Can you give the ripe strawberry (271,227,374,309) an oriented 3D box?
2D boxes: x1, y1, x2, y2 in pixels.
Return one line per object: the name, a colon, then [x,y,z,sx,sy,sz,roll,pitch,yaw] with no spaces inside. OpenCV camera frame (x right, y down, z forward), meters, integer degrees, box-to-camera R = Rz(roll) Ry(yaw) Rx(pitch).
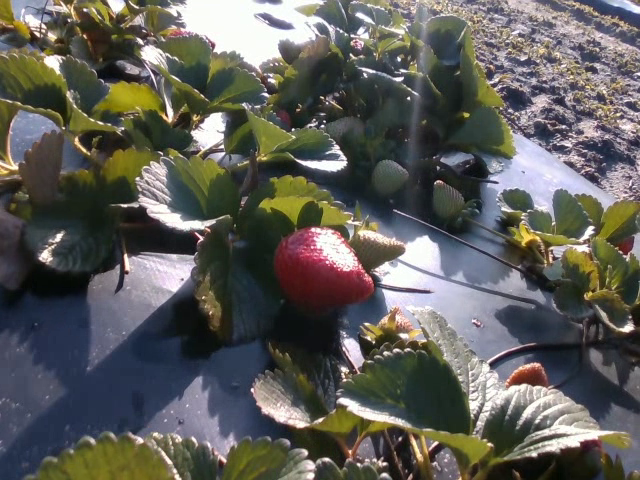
ripe strawberry: [0.004,0.016,0.304,0.072,0.057,0.055,24,-19,51]
